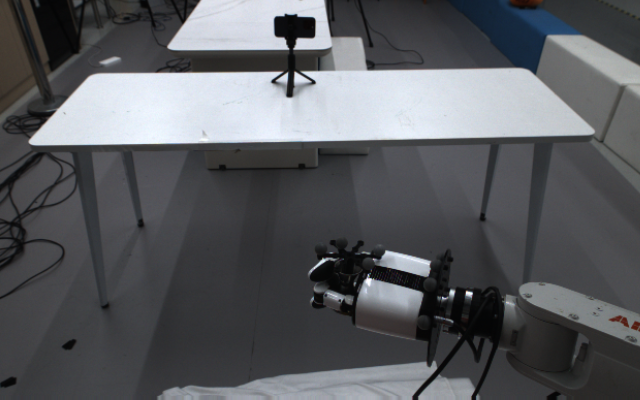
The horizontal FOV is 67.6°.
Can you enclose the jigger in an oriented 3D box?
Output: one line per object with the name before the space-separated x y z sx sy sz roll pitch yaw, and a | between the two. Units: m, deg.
jigger | 0.042 0.122 0.693 0.043 0.071 0.043 3 24 -1
